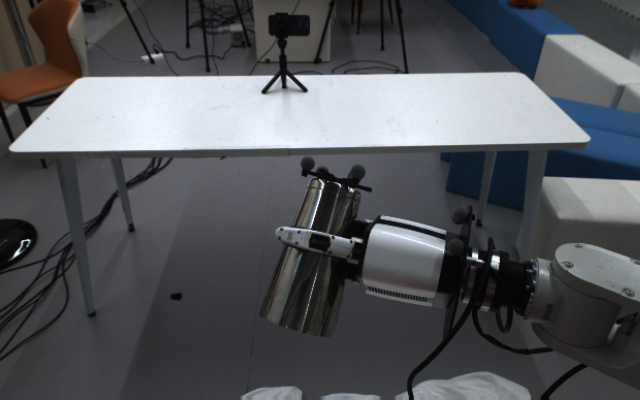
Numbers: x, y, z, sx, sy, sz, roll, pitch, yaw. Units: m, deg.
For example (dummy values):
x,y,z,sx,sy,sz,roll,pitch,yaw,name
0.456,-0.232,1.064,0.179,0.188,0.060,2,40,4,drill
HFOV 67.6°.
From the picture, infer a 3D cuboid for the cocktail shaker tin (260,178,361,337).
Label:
x,y,z,sx,sy,sz,roll,pitch,yaw,name
-0.005,0.065,0.579,0.093,0.170,0.093,16,-6,2,cocktail shaker tin
